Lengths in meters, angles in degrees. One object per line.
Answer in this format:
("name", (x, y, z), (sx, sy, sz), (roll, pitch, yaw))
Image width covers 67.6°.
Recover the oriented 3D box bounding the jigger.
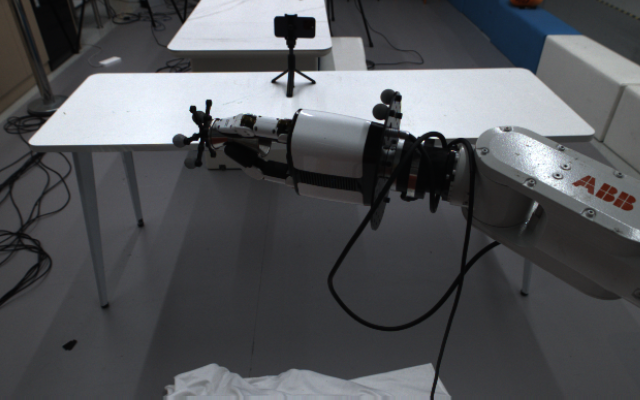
("jigger", (-0.094, -0.083, 0.603), (0.071, 0.043, 0.043), (8, 35, 15))
